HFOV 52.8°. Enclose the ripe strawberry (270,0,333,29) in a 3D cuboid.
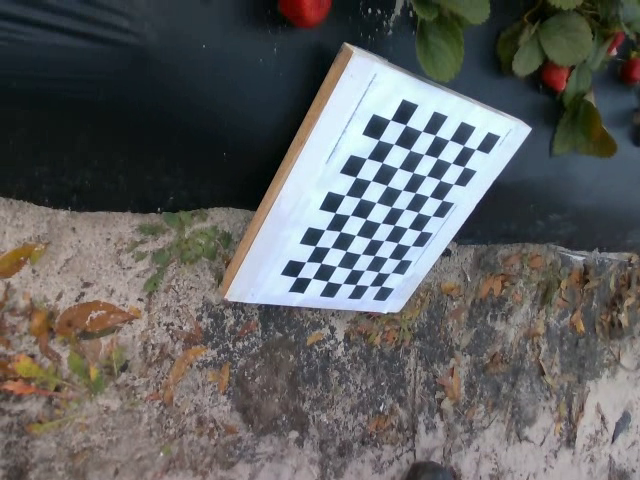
[{"bbox_3d":[-0.009,-0.199,0.538,0.057,0.065,0.056,-12,-42,-1],"label":"ripe strawberry"}]
